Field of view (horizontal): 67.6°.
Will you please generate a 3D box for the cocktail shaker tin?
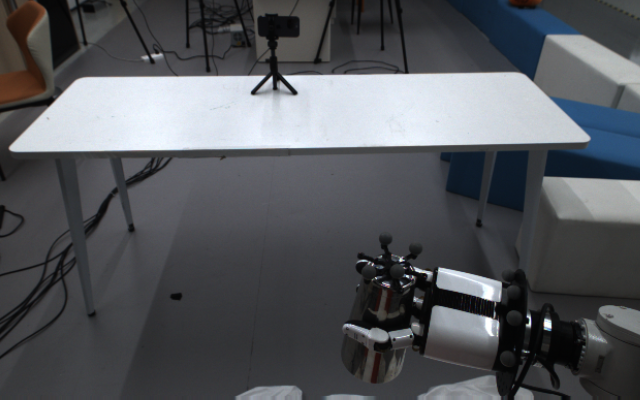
[{"bbox_3d":[0.084,0.156,0.653,0.093,0.170,0.093,3,36,-3],"label":"cocktail shaker tin"}]
